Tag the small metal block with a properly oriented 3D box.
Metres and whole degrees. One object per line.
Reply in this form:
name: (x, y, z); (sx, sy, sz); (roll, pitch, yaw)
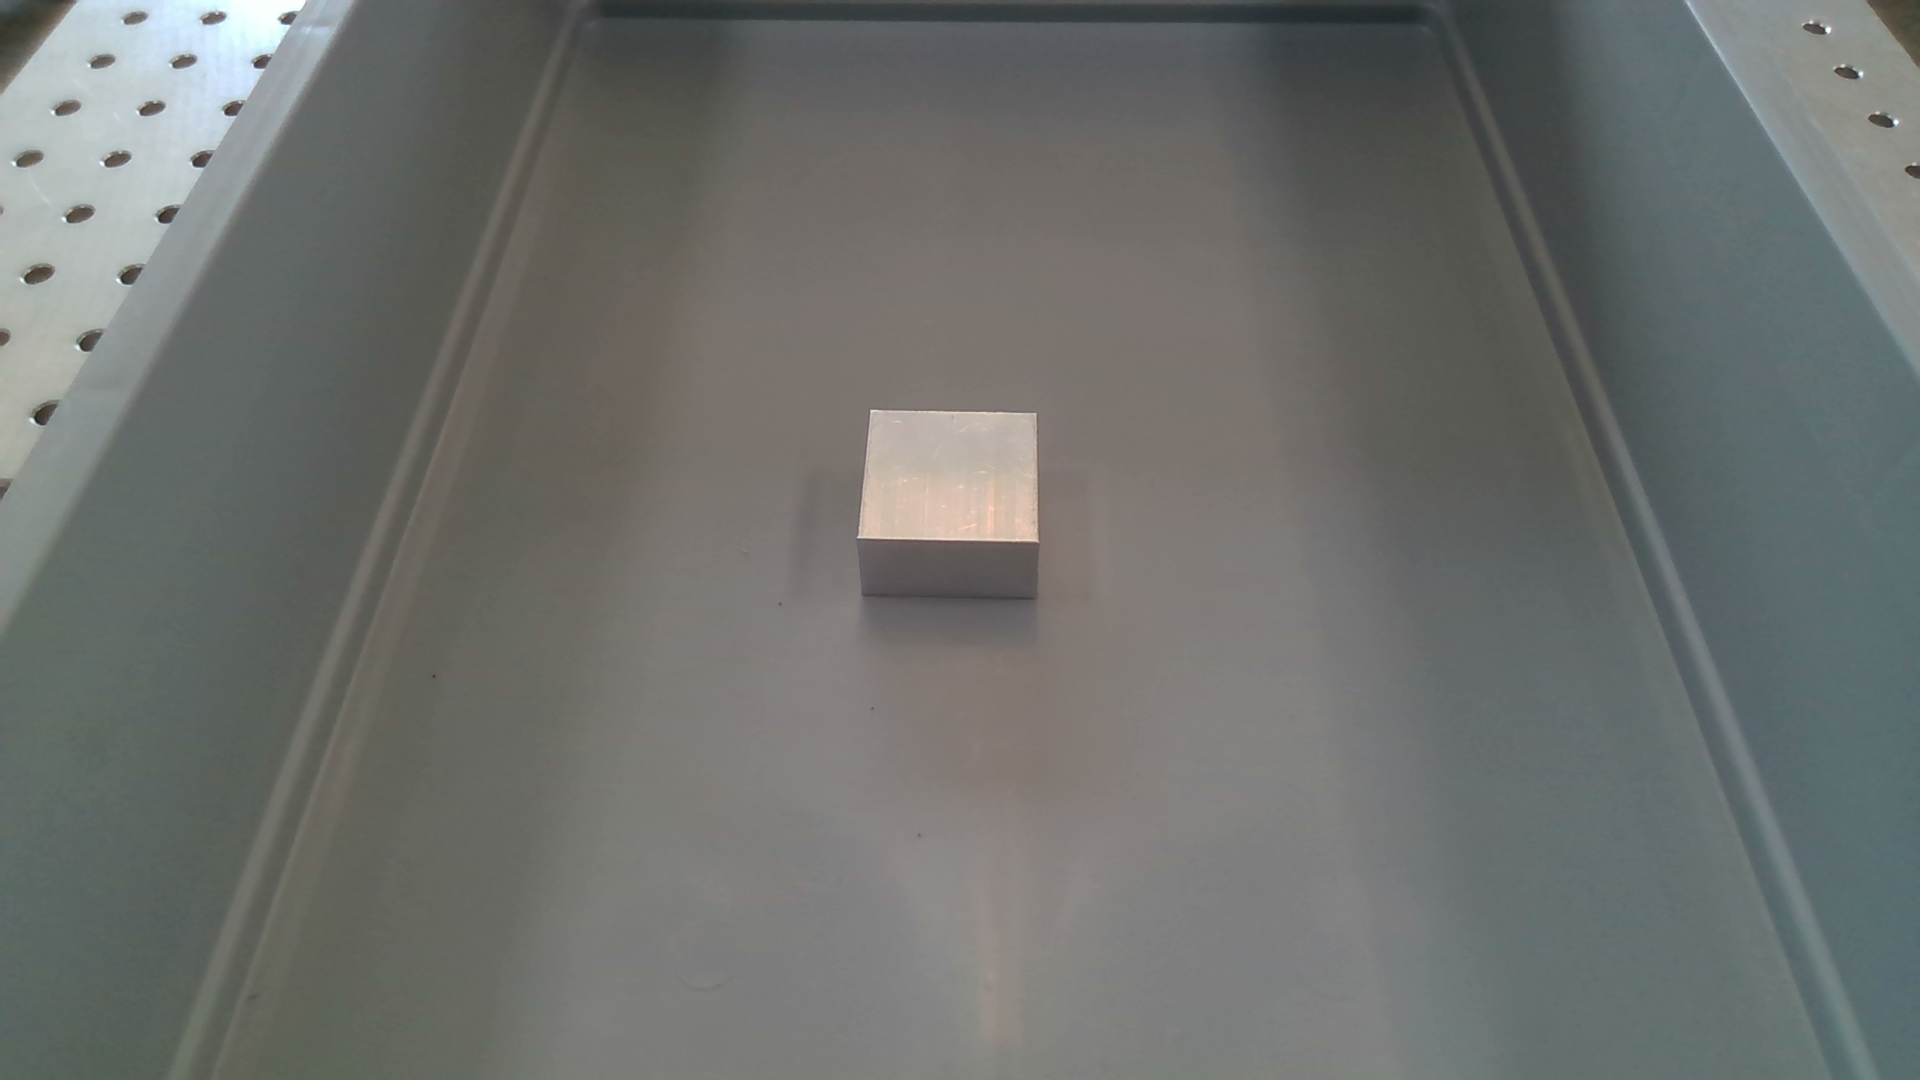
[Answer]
small metal block: (-0.003, -0.011, 0.399); (0.050, 0.025, 0.050); (1, 50, 1)
